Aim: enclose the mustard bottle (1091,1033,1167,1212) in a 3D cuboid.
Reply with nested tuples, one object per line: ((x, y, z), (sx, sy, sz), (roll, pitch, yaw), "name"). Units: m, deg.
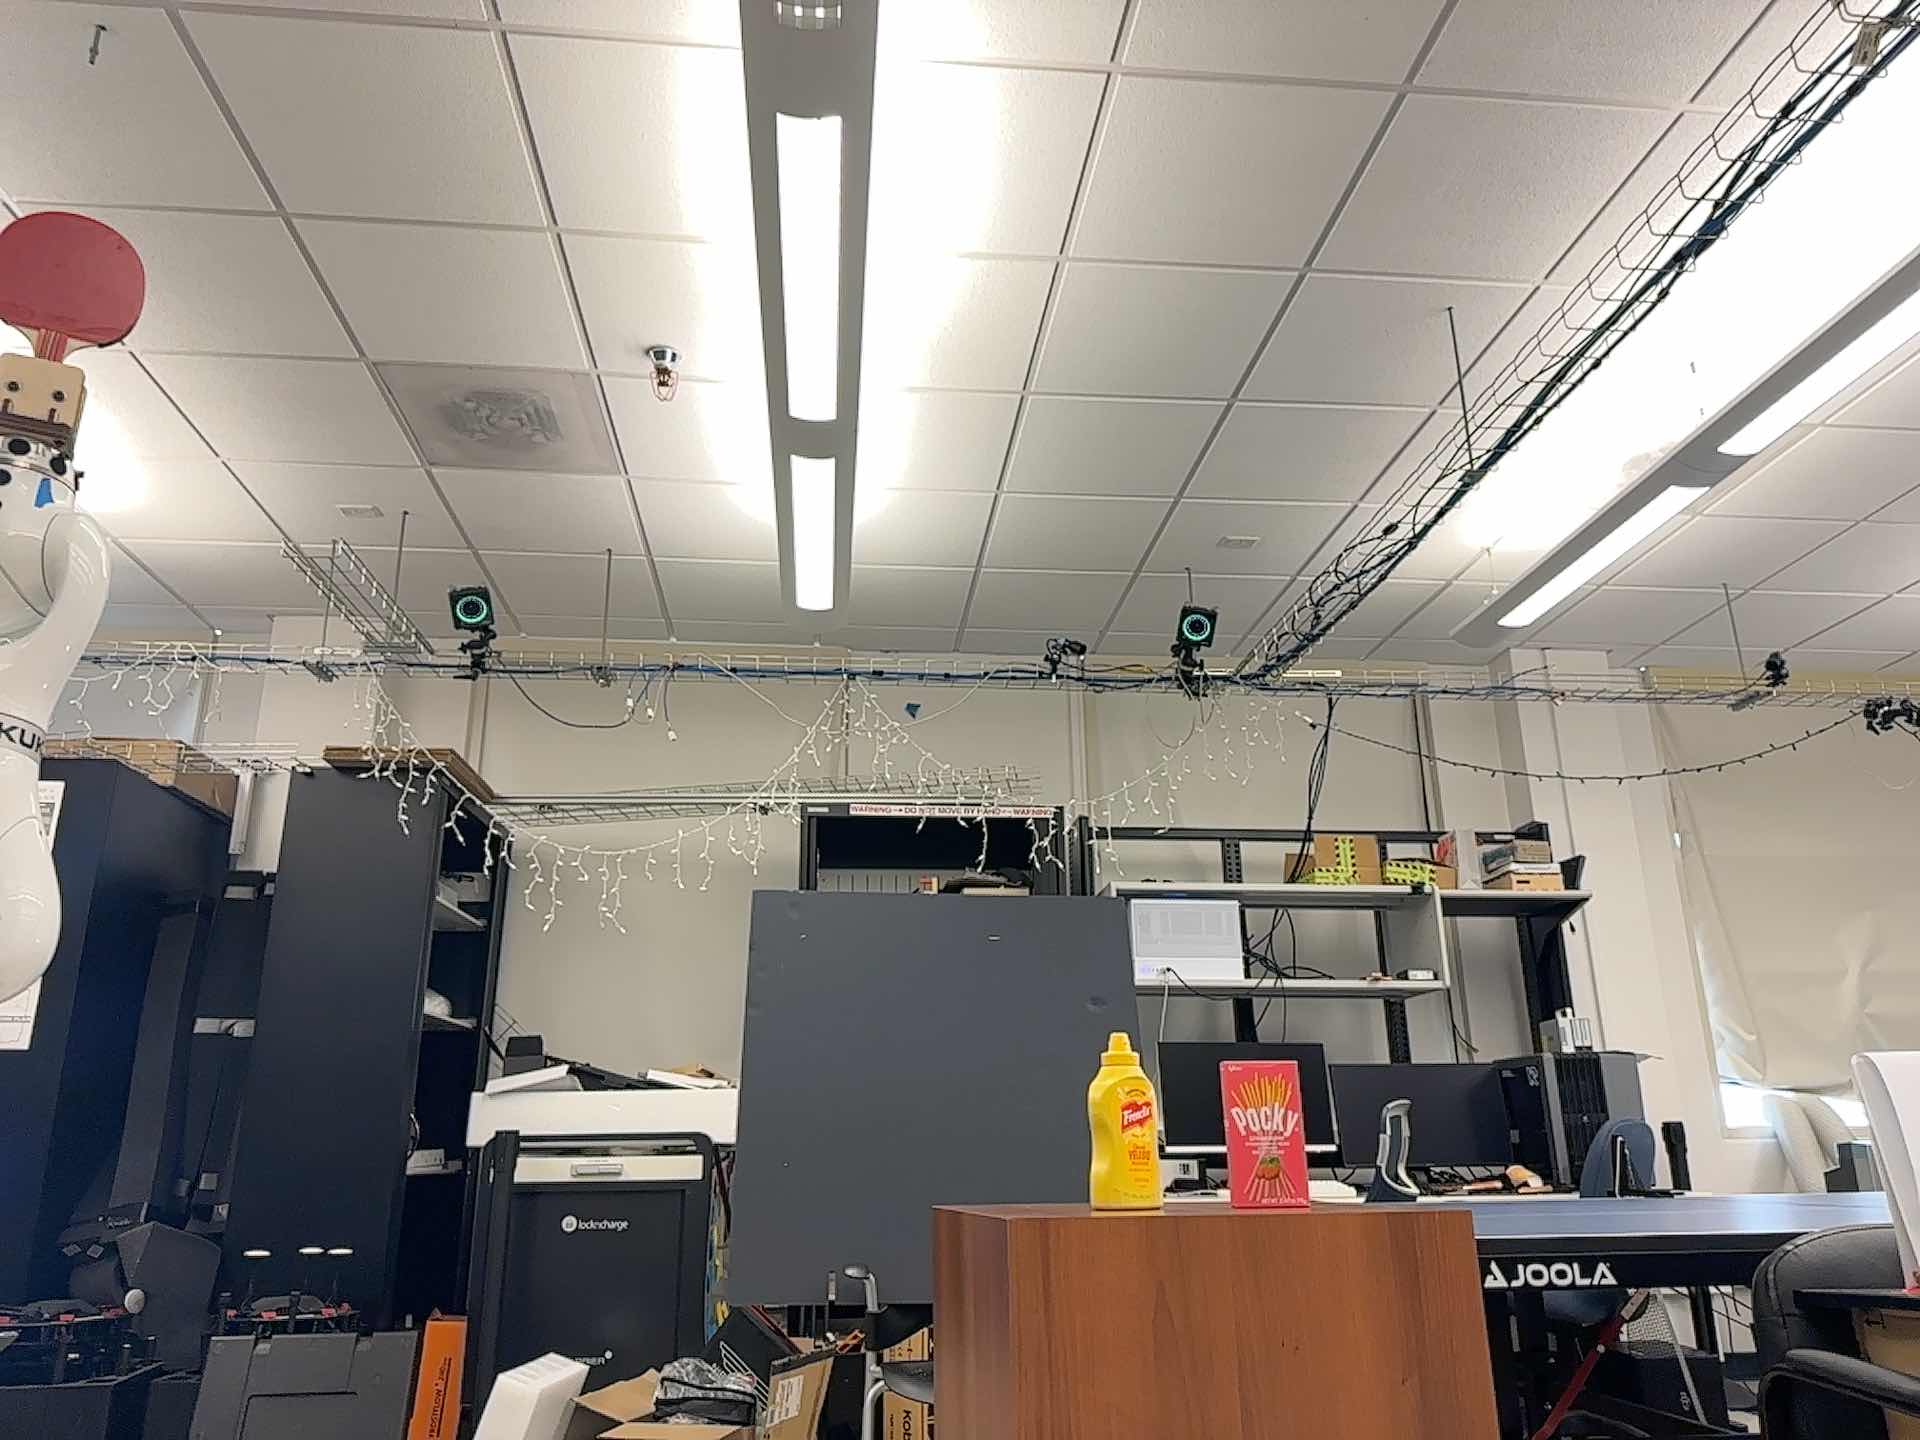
((0.179, 0.434, 1.462), (0.092, 0.184, 0.054), (11, -21, -32), "mustard bottle")

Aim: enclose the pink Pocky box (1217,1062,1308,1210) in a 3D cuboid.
((0.333, 0.458, 1.490), (0.084, 0.154, 0.029), (-1, -18, 1), "pink Pocky box")
